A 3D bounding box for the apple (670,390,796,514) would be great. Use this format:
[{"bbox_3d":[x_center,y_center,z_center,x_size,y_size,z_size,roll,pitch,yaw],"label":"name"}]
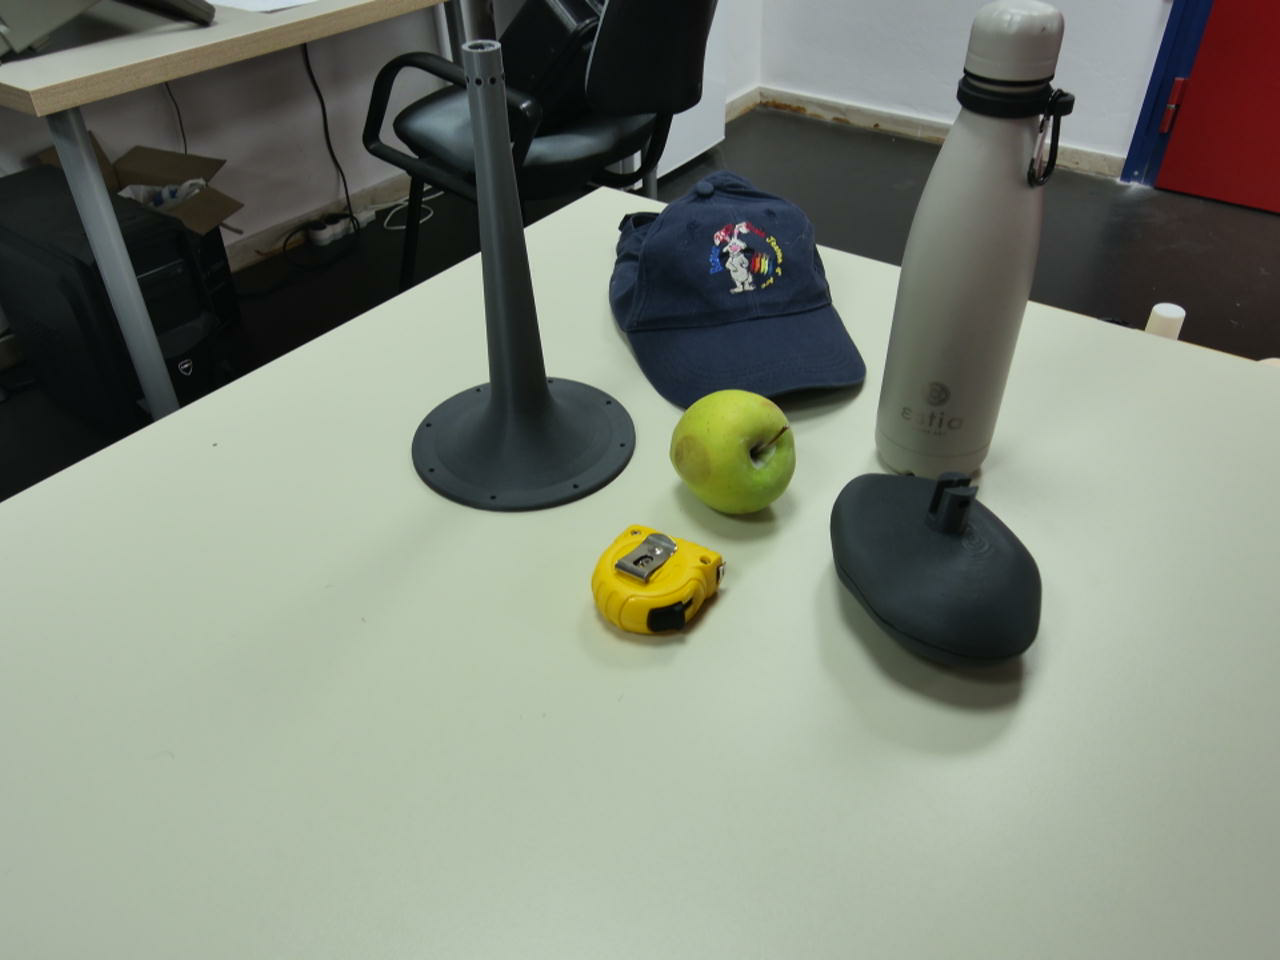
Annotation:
[{"bbox_3d":[0.056,-0.019,0.600,0.072,0.075,0.077,-5,38,-7],"label":"apple"}]
